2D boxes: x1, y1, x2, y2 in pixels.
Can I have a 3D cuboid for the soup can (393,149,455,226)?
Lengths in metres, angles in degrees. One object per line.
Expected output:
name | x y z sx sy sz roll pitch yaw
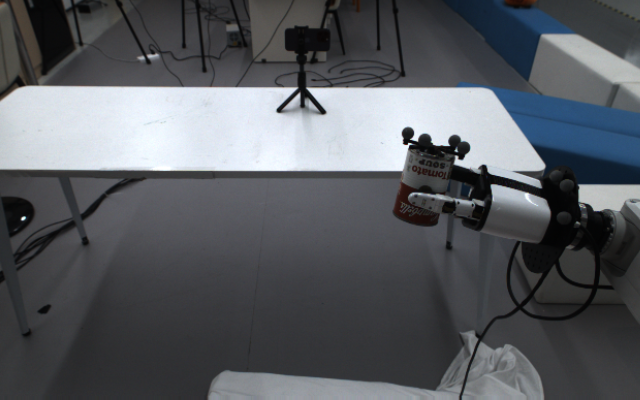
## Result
soup can | 0.150 -0.024 0.694 0.067 0.101 0.067 9 20 -3
